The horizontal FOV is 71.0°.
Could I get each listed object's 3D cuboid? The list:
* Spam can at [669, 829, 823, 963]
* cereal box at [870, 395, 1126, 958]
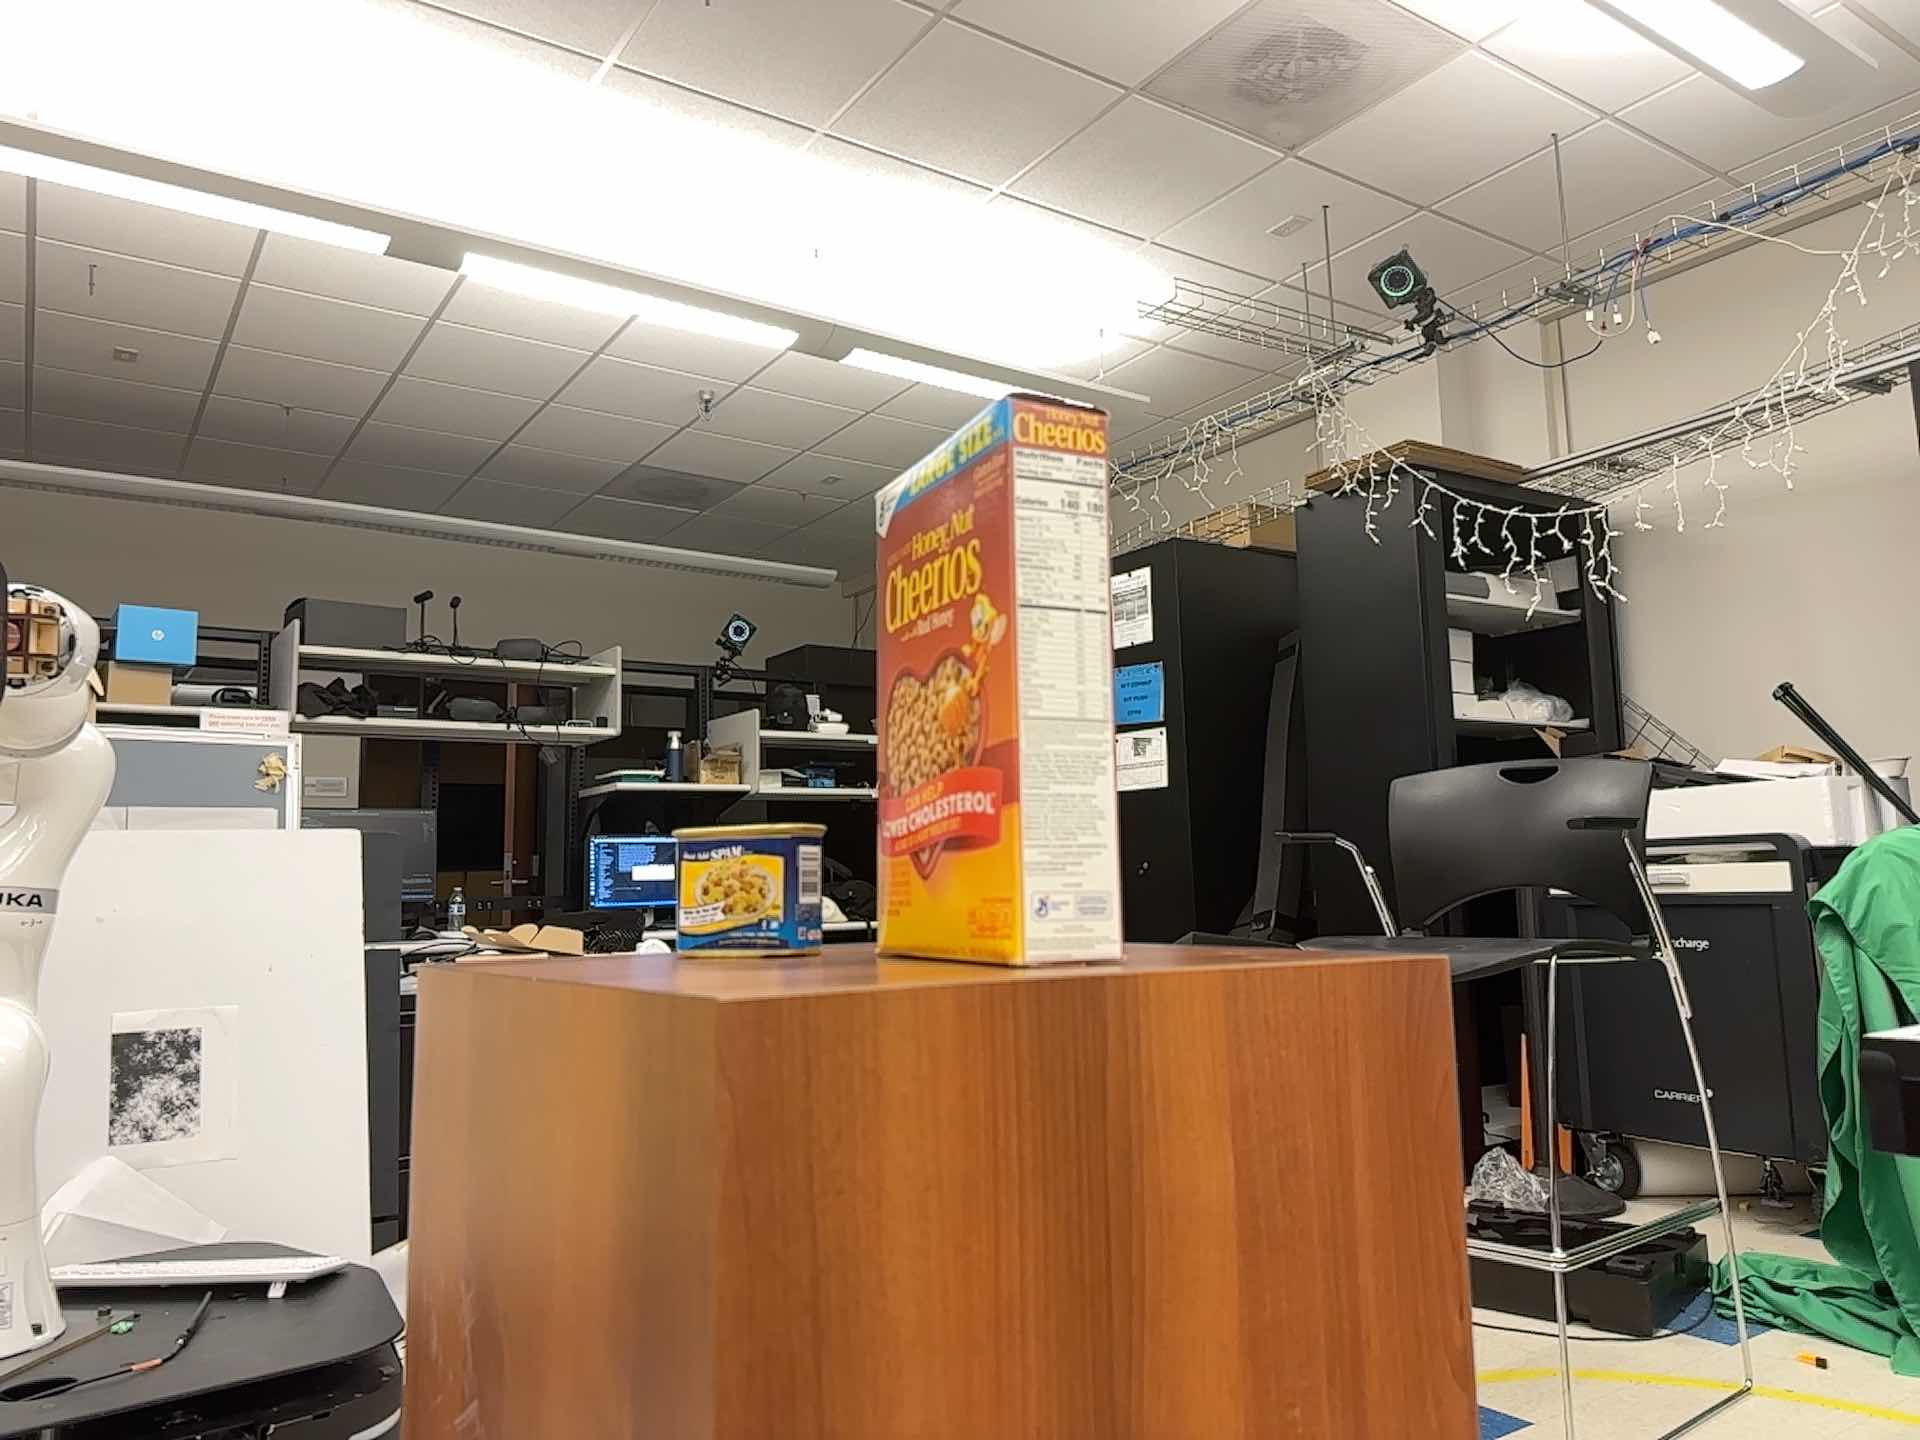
[{"bbox_3d":[-0.144,0.119,0.903,0.100,0.083,0.056,-4,-10,17],"label":"Spam can"},{"bbox_3d":[0.014,-0.013,0.808,0.065,0.297,0.195,4,-10,-25],"label":"cereal box"}]
